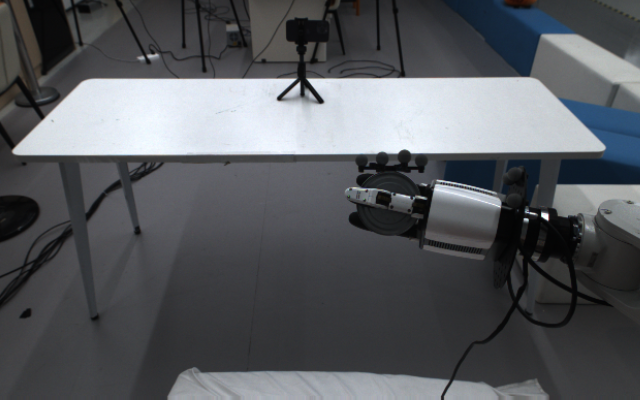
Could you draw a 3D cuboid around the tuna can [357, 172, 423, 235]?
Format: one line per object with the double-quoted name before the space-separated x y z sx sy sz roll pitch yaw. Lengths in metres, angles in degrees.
"tuna can" 0.094 0.004 0.646 0.085 0.085 0.034 13 -3 16
